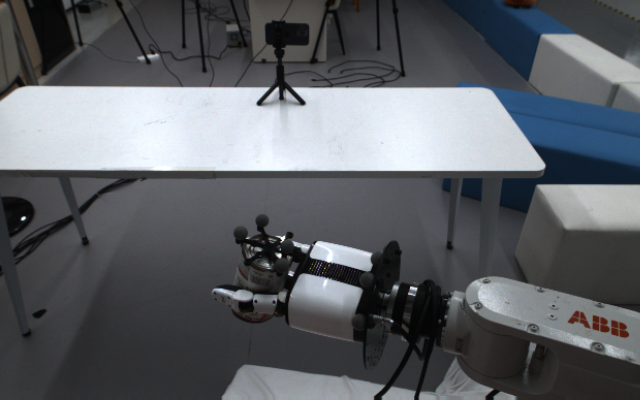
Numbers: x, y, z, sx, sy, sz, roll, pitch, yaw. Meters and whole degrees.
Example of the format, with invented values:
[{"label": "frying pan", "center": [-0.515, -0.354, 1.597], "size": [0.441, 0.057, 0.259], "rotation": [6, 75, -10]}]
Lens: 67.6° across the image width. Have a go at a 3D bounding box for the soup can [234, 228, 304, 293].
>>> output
[{"label": "soup can", "center": [-0.077, 0.105, 0.636], "size": [0.067, 0.101, 0.067], "rotation": [13, 35, -9]}]
